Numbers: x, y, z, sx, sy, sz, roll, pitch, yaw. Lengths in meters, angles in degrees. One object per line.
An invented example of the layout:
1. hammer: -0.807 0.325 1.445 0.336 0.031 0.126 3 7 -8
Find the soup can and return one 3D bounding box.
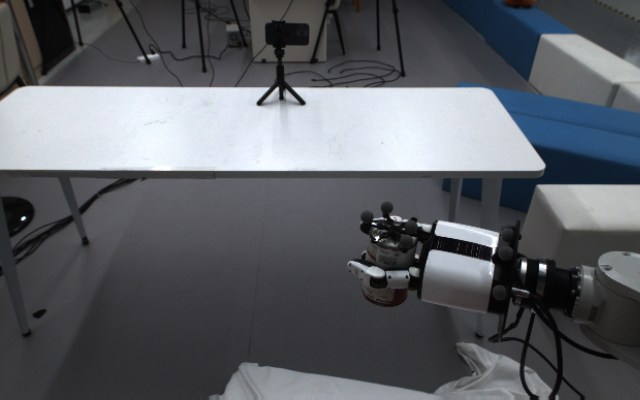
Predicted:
1. soup can: 0.097 0.088 0.672 0.067 0.101 0.067 3 30 -2
